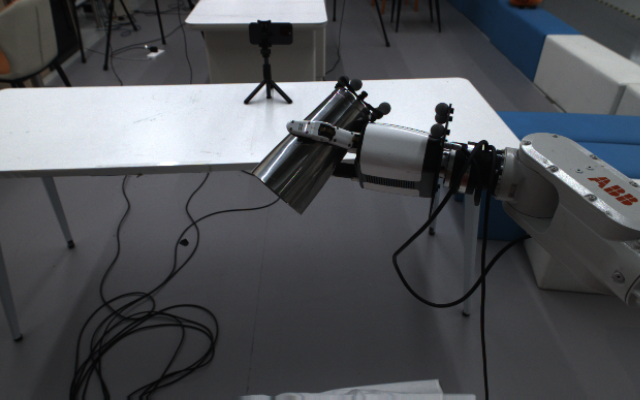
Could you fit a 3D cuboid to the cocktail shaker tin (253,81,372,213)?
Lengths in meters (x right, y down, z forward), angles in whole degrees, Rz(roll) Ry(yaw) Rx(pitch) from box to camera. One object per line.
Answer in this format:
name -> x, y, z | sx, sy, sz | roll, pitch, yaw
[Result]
cocktail shaker tin -> -0.006, -0.076, 0.681 | 0.170, 0.093, 0.093 | -48, 49, -4
